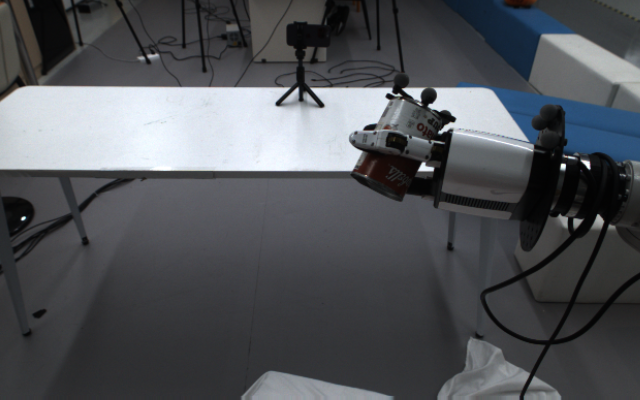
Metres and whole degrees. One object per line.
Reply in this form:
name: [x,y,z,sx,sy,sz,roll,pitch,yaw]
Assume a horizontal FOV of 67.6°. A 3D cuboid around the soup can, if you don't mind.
soup can: [0.089,-0.058,0.555,0.067,0.101,0.067,28,-2,1]
